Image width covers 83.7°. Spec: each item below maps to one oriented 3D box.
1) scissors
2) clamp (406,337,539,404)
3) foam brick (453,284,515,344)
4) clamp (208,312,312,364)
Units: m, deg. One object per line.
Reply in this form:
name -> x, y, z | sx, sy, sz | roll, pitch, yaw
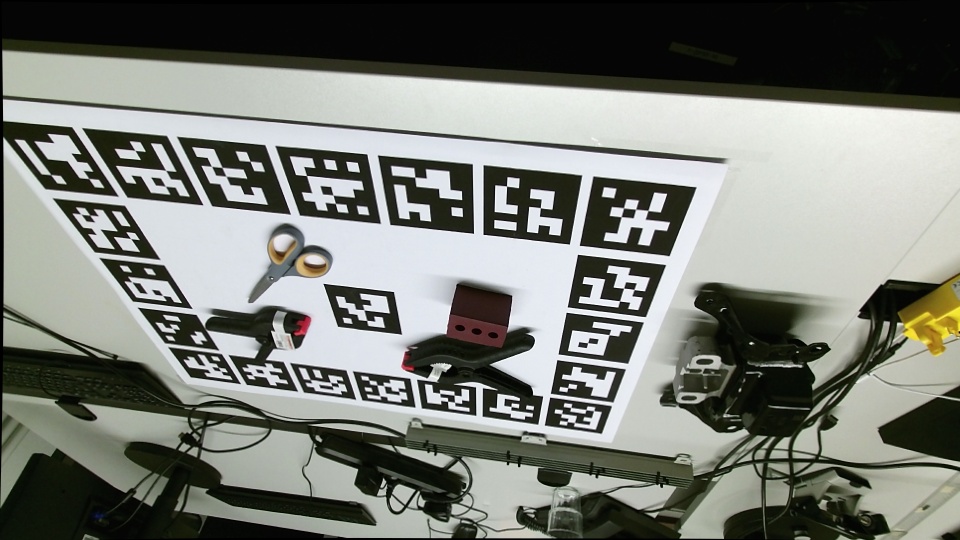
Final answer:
scissors -> -0.272, 0.009, 0.738 | 0.088, 0.016, 0.203 | 40, 131, -16
clamp -> -0.011, 0.149, 0.817 | 0.203, 0.036, 0.165 | 4, 138, 9
foam brick -> 0.005, 0.059, 0.714 | 0.078, 0.051, 0.053 | 8, 135, -3
clamp -> -0.335, 0.106, 0.846 | 0.165, 0.036, 0.122 | -16, 123, 24
